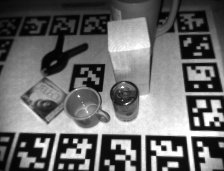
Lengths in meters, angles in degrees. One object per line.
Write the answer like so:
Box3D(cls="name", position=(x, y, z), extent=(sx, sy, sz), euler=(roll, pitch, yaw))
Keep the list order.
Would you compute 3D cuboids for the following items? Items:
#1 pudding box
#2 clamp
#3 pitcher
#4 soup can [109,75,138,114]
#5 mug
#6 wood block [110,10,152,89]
Box3D(cls="pudding box", position=(-0.195, 0.023, 0.622), extent=(0.112, 0.039, 0.090), euler=(35, 73, 24))
Box3D(cls="clamp", position=(-0.164, -0.115, 0.703), extent=(0.121, 0.037, 0.165), euler=(29, 68, 13))
Box3D(cls="pitcher", position=(0.077, -0.191, 0.593), extent=(0.188, 0.244, 0.133), euler=(-3, 58, 9))
Box3D(cls="soup can", position=(0.031, 0.027, 0.553), extent=(0.068, 0.103, 0.067), euler=(-3, 63, 6))
Box3D(cls="mug", position=(-0.061, 0.050, 0.563), extent=(0.116, 0.082, 0.093), euler=(33, 67, 24))
Box3D(cls="wood block", position=(0.047, -0.077, 0.550), extent=(0.090, 0.207, 0.090), euler=(-2, 60, 3))
